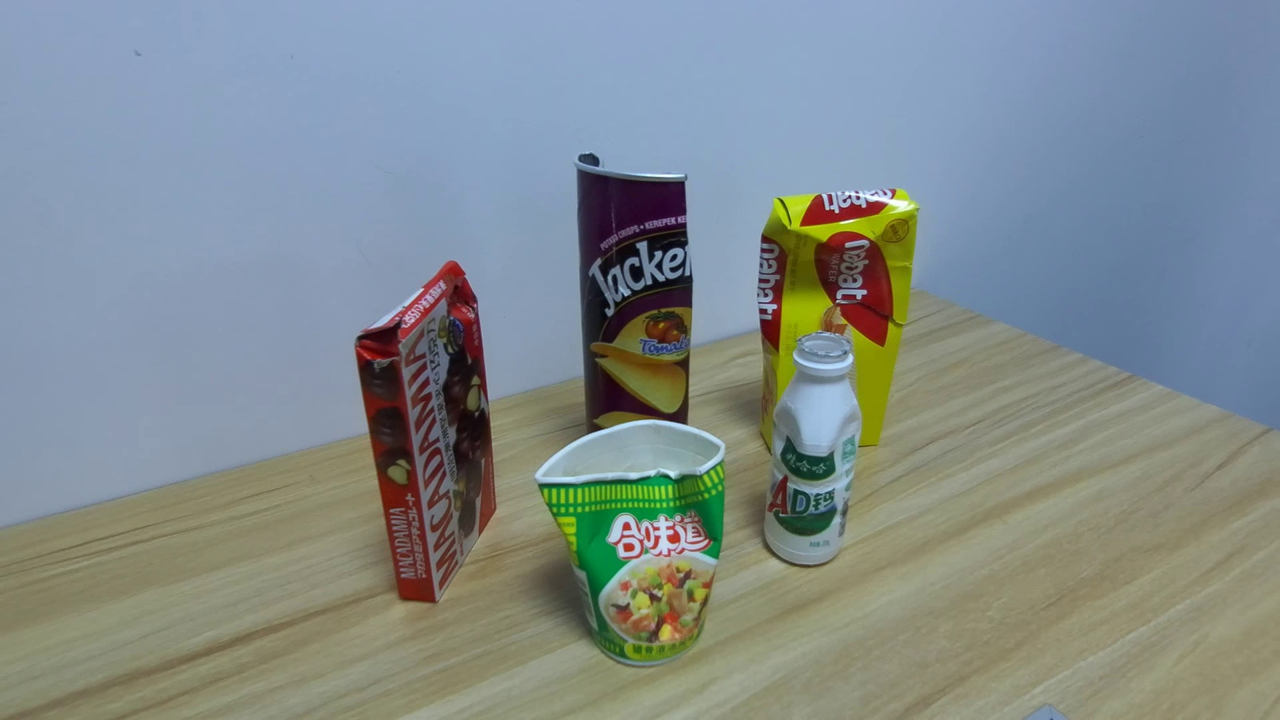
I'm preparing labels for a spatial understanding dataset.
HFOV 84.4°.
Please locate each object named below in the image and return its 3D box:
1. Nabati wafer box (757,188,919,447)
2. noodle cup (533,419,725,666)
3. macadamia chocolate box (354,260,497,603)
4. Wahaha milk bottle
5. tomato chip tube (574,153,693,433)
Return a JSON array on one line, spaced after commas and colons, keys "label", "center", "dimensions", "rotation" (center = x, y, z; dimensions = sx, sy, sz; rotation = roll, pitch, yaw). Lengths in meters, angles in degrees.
[{"label": "Nabati wafer box", "center": [0.141, -0.026, 0.532], "dimensions": [0.107, 0.204, 0.042], "rotation": [-5, 29, -7]}, {"label": "noodle cup", "center": [0.005, 0.101, 0.391], "dimensions": [0.082, 0.122, 0.075], "rotation": [1, 19, 26]}, {"label": "macadamia chocolate box", "center": [-0.121, 0.043, 0.428], "dimensions": [0.027, 0.187, 0.103], "rotation": [7, 28, 10]}, {"label": "Wahaha milk bottle", "center": [0.105, 0.056, 0.434], "dimensions": [0.055, 0.149, 0.055], "rotation": [-1, 29, 1]}, {"label": "tomato chip tube", "center": [-0.002, -0.016, 0.487], "dimensions": [0.076, 0.235, 0.077], "rotation": [0, 26, 2]}]
